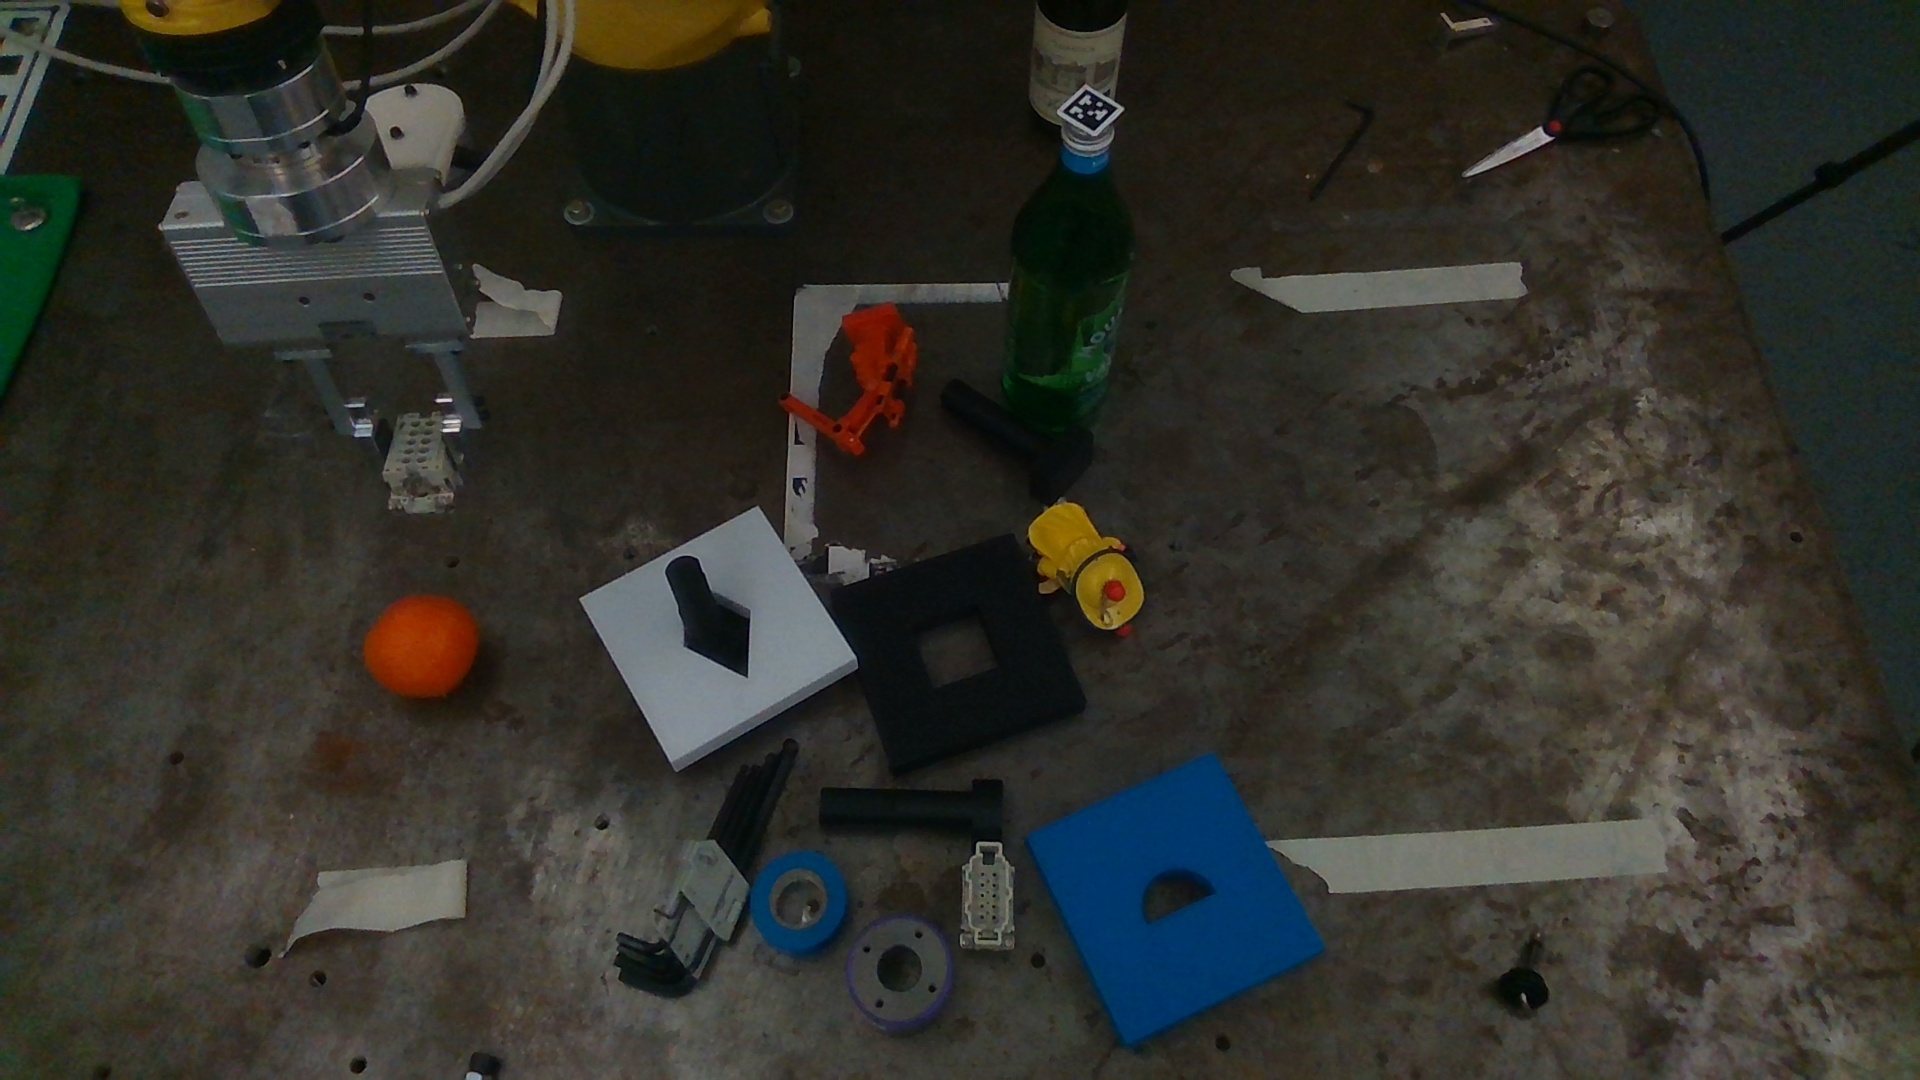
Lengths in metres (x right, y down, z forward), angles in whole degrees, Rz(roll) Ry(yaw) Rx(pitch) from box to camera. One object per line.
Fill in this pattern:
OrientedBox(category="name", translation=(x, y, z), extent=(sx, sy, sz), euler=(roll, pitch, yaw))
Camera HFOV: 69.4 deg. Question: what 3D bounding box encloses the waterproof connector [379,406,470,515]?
OrientedBox(category="waterproof connector", translation=(-0.304, -0.046, 0.793), extent=(0.037, 0.038, 0.069), euler=(-4, 51, 1))
